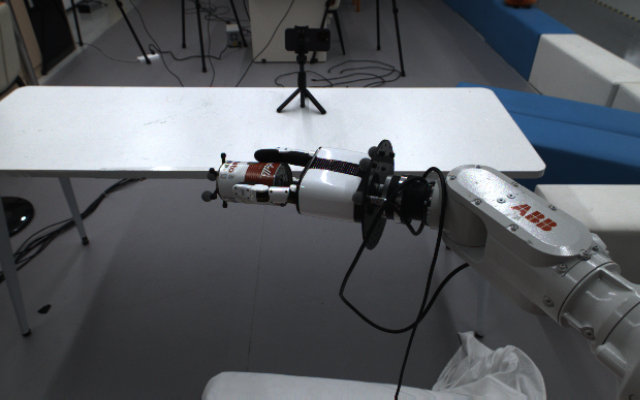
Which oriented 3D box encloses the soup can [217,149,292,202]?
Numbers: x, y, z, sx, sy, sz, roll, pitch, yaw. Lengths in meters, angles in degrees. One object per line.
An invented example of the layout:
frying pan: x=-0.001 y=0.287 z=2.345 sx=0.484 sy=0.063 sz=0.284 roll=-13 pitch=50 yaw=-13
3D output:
soup can: x=-0.101 y=-0.025 z=0.758 sx=0.101 sy=0.067 sz=0.067 roll=4 pitch=34 yaw=20
